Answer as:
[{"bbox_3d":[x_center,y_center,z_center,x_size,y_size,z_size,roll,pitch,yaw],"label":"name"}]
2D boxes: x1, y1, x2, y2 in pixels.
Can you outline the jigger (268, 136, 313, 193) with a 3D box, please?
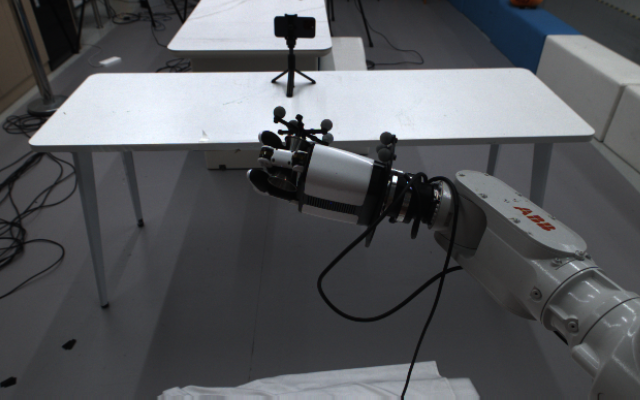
[{"bbox_3d":[-0.038,-0.051,0.675,0.043,0.043,0.071,12,71,14],"label":"jigger"}]
